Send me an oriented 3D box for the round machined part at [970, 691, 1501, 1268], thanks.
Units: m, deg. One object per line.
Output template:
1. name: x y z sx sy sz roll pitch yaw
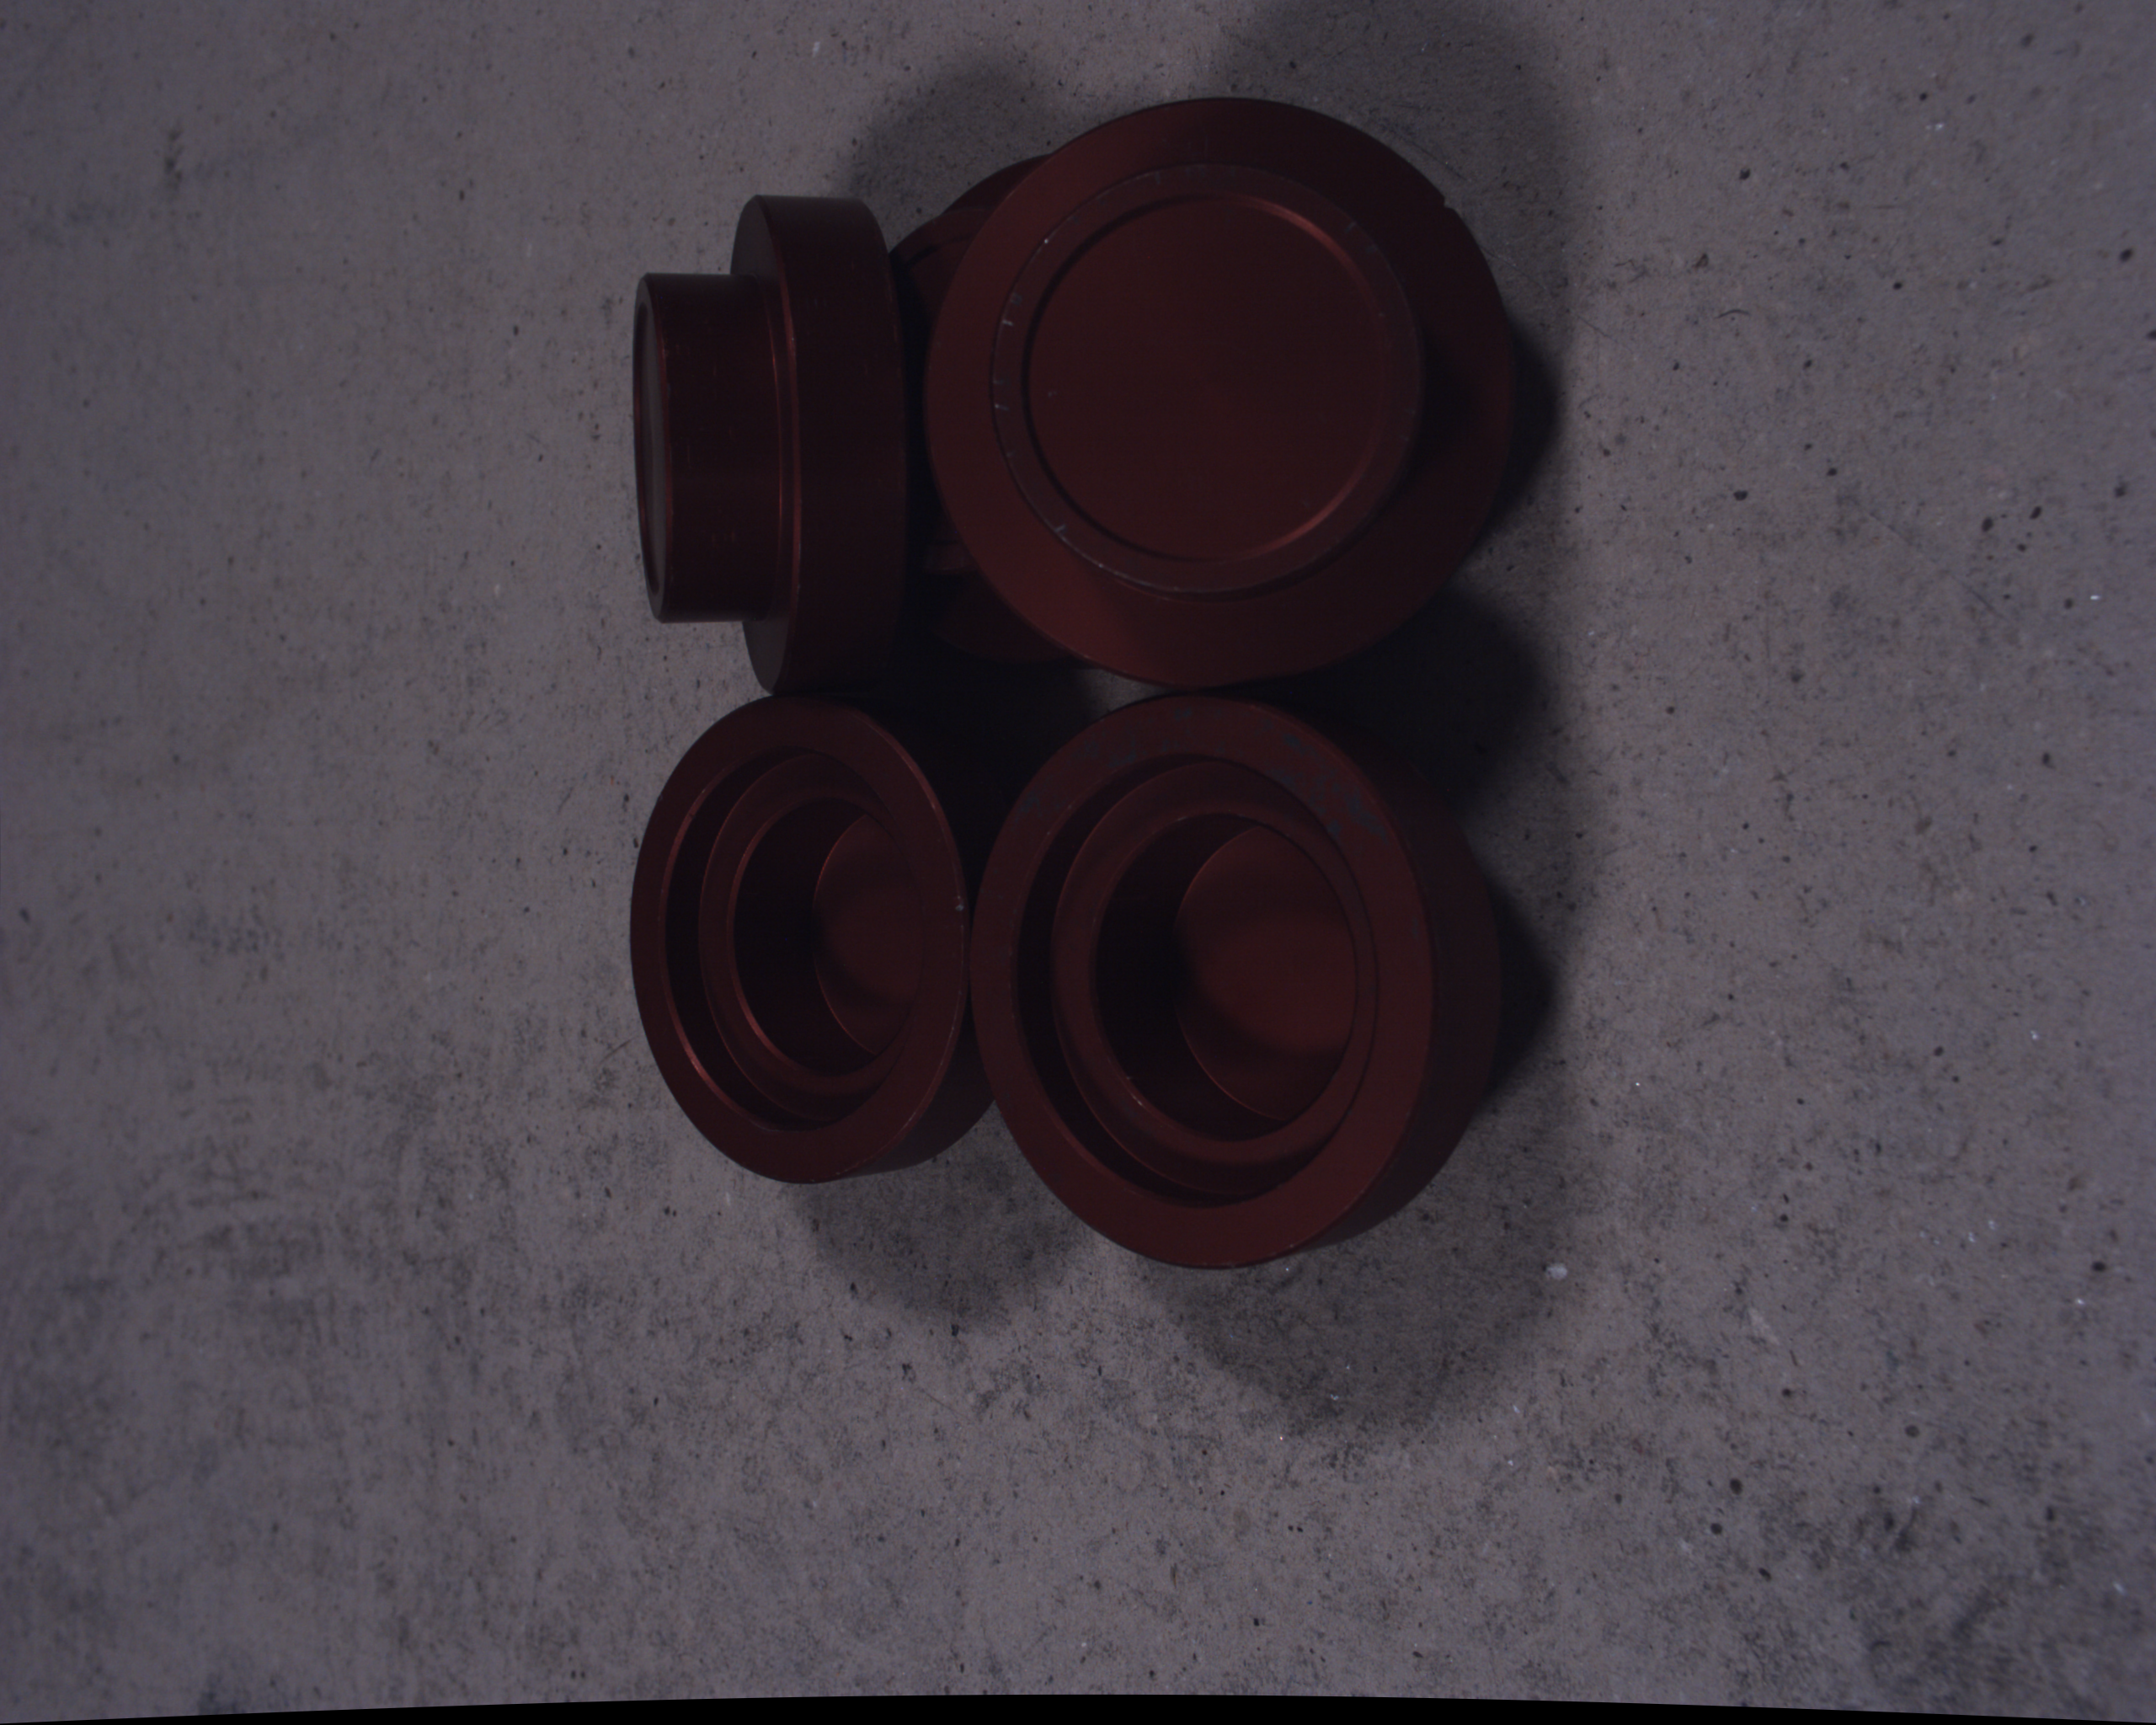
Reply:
1. round machined part: 0.031 0.020 0.368 0.098 0.042 0.097 0 90 39

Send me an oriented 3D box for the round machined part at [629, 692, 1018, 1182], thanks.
1. round machined part: -0.045 0.015 0.430 0.098 0.042 0.097 0 90 39

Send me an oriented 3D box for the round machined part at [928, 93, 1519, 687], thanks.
1. round machined part: 0.023 -0.078 0.346 0.099 0.042 0.097 1 95 8

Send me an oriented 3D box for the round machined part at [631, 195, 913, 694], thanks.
1. round machined part: -0.064 -0.082 0.415 0.098 0.042 0.097 177 89 -73

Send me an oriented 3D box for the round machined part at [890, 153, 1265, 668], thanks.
1. round machined part: -0.010 -0.088 0.401 0.098 0.042 0.097 0 90 39
